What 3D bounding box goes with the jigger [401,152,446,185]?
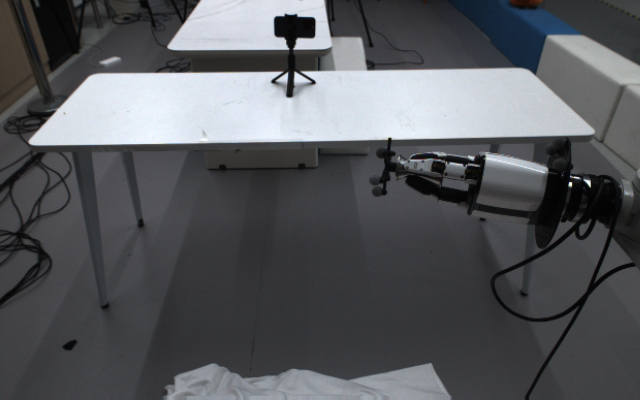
[{"bbox_3d":[0.157,-0.049,0.726,0.071,0.043,0.043,8,35,15],"label":"jigger"}]
